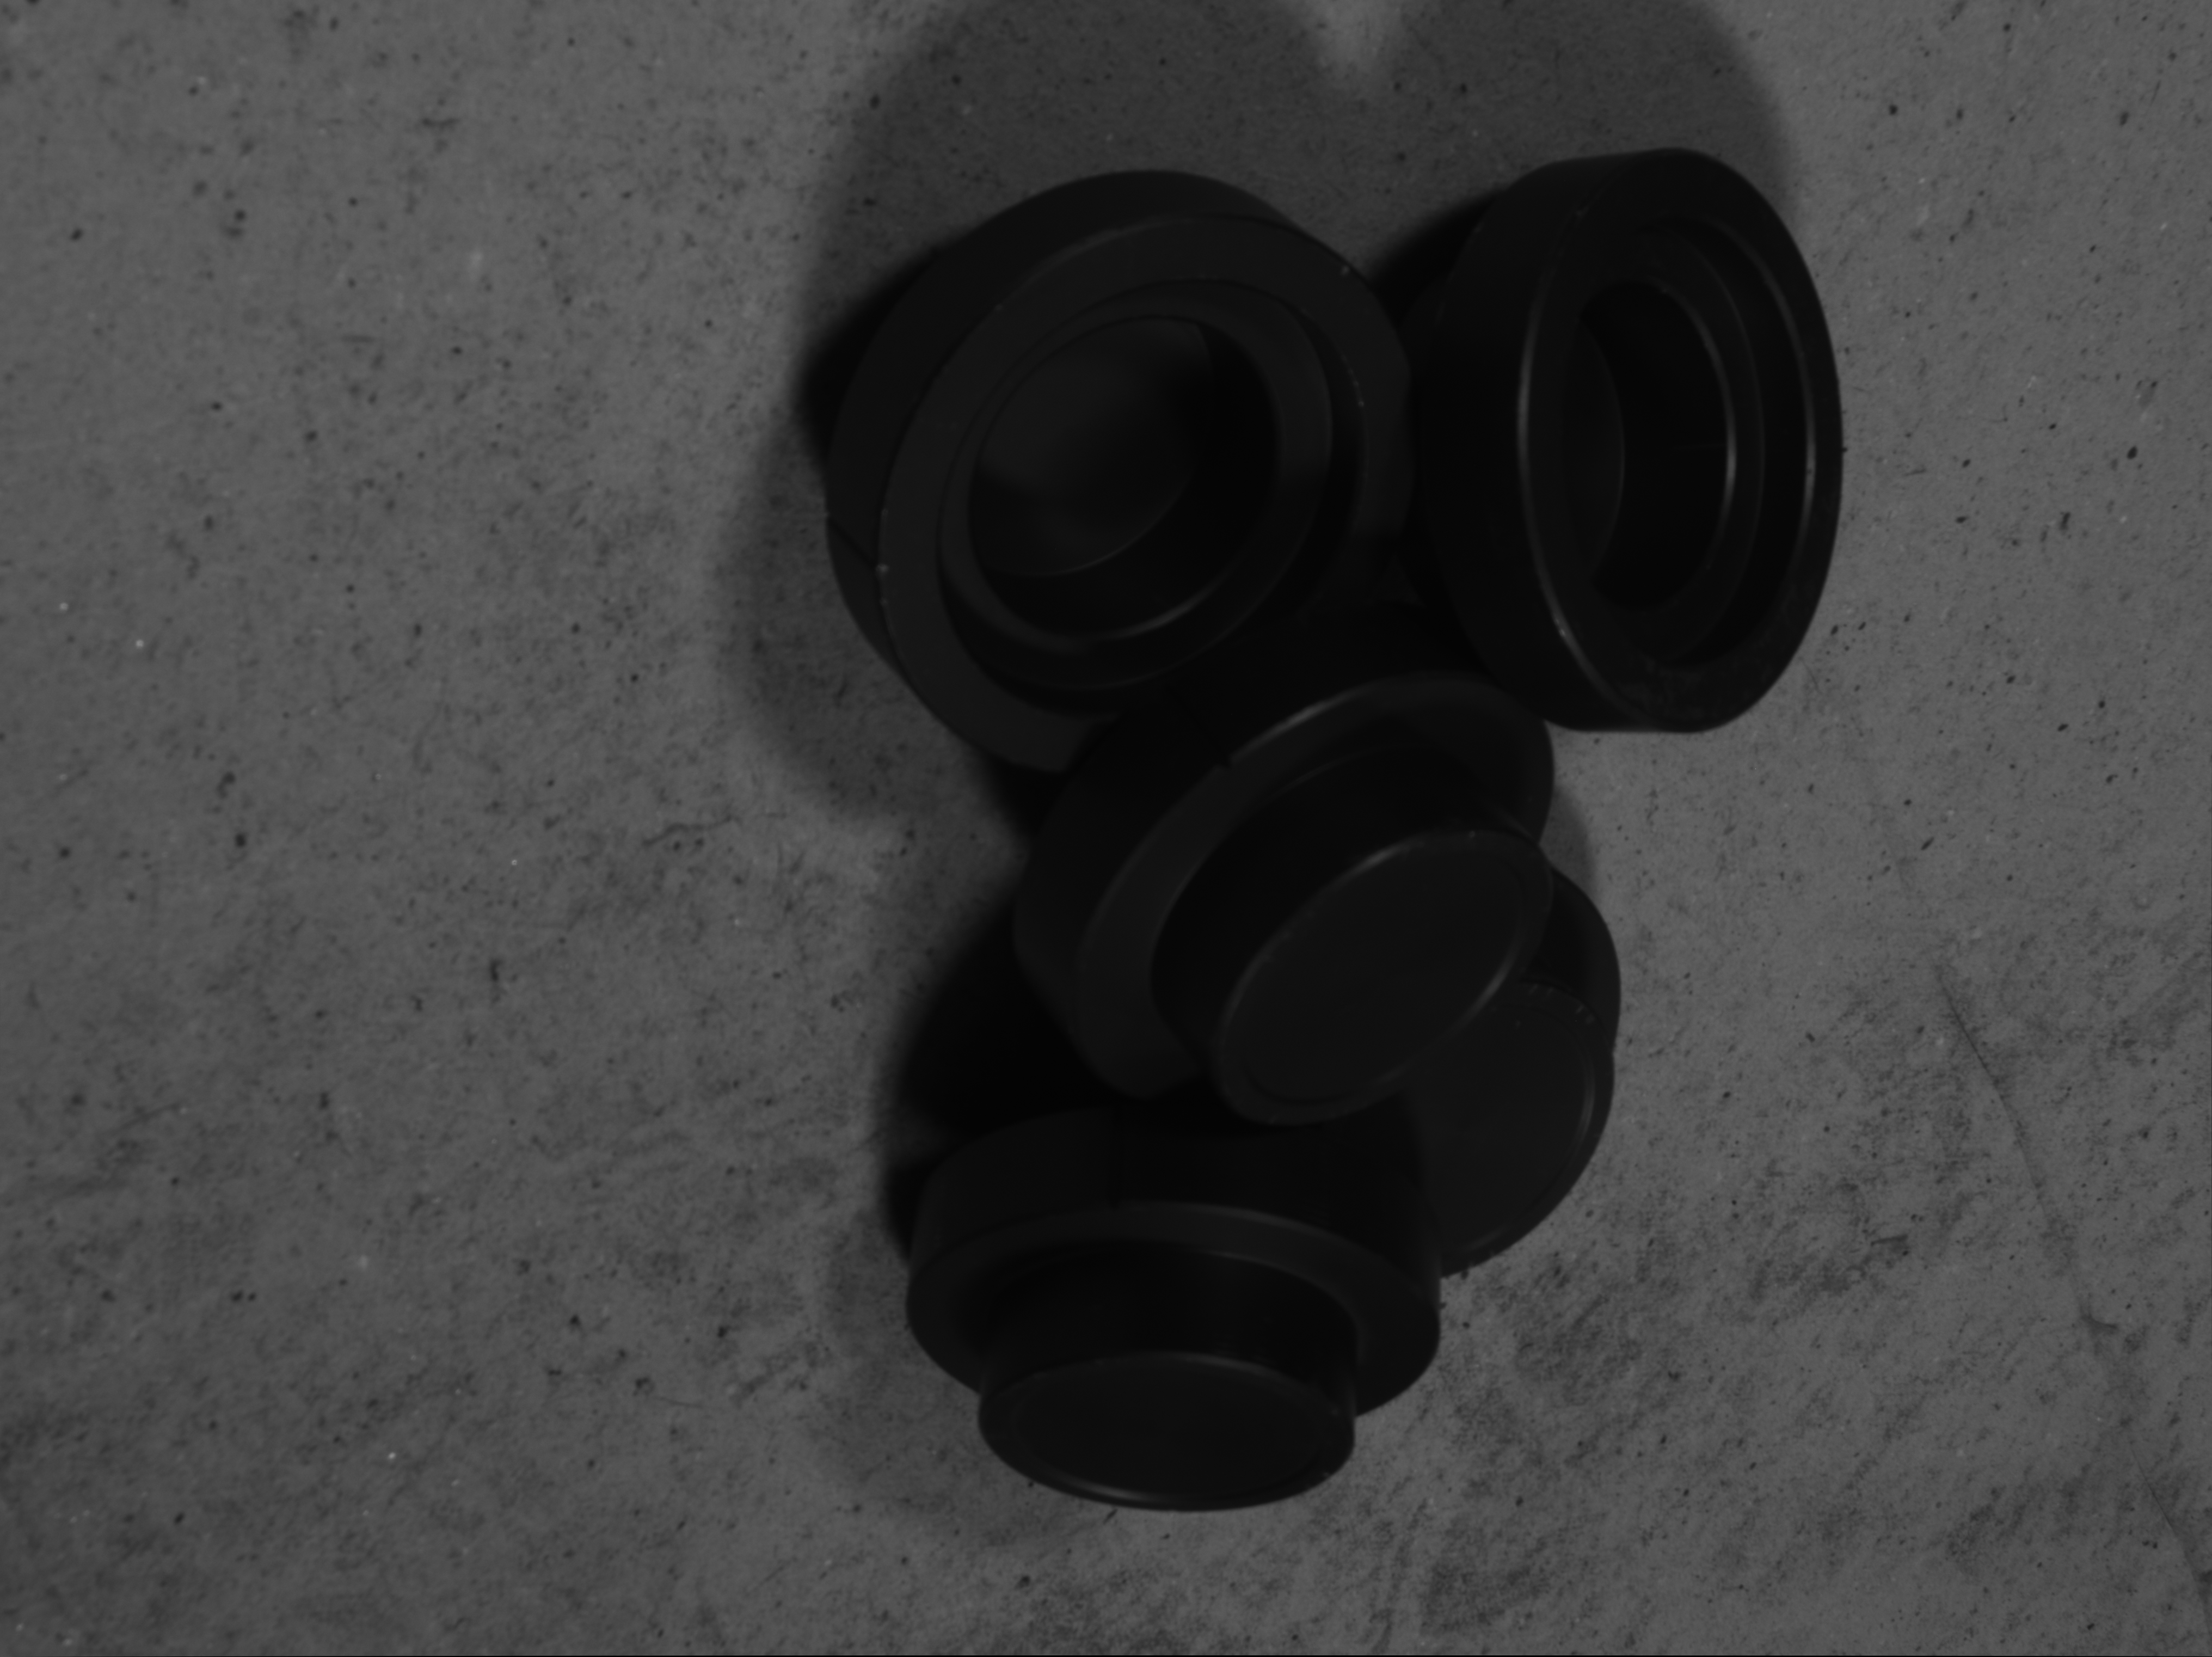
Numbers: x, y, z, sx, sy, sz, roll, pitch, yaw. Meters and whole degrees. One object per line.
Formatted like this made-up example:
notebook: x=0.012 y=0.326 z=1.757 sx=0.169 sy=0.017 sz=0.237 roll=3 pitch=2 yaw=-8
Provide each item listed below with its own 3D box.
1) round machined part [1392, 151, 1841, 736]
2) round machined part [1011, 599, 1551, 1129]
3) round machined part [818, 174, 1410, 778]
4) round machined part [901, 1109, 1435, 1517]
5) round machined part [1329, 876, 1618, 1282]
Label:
round machined part: x=0.083 y=-0.065 z=0.630 sx=0.098 sy=0.042 sz=0.098 roll=-3 pitch=94 yaw=-47
round machined part: x=0.036 y=0.012 z=0.625 sx=0.098 sy=0.042 sz=0.098 roll=-23 pitch=140 yaw=-21
round machined part: x=-0.002 y=-0.061 z=0.601 sx=0.098 sy=0.042 sz=0.098 roll=-15 pitch=125 yaw=-22
round machined part: x=0.011 y=0.093 z=0.671 sx=0.098 sy=0.042 sz=0.098 roll=3 pitch=146 yaw=2
round machined part: x=0.057 y=0.049 z=0.703 sx=0.098 sy=0.042 sz=0.098 roll=-15 pitch=125 yaw=-22
